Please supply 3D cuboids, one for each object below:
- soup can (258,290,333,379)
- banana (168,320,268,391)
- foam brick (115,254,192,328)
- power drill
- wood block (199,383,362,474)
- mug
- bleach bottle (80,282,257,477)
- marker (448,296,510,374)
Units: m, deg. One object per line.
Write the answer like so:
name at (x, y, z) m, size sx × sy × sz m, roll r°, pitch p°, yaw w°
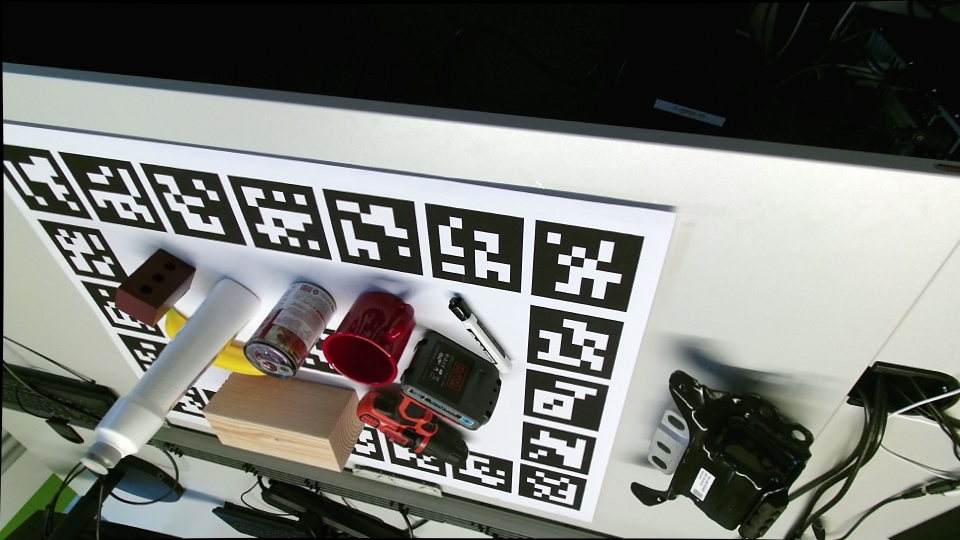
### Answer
soup can at (-0.232, 0.082, 0.649) m, size 0.068 × 0.101 × 0.068 m, roll 11°, pitch 136°, yaw 12°
banana at (-0.374, 0.140, 0.795) m, size 0.198 × 0.039 × 0.074 m, roll 21°, pitch 119°, yaw 3°
foam brick at (-0.424, 0.029, 0.697) m, size 0.053 × 0.078 × 0.051 m, roll 33°, pitch 134°, yaw -12°
power drill at (-0.068, 0.192, 0.732) m, size 0.185 × 0.057 × 0.187 m, roll 32°, pitch 133°, yaw -5°
wood block at (-0.299, 0.233, 0.819) m, size 0.207 × 0.090 × 0.090 m, roll 8°, pitch 130°, yaw 13°
mug at (-0.123, 0.084, 0.634) m, size 0.093 × 0.081 × 0.117 m, roll 43°, pitch 126°, yaw -15°
bleach bottle at (-0.369, 0.130, 0.645) m, size 0.068 × 0.250 × 0.103 m, roll 30°, pitch 133°, yaw -8°
marker at (-0.002, 0.077, 0.633) m, size 0.020 × 0.019 × 0.121 m, roll -19°, pitch 120°, yaw 28°
